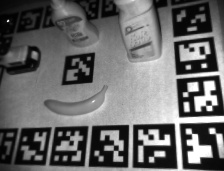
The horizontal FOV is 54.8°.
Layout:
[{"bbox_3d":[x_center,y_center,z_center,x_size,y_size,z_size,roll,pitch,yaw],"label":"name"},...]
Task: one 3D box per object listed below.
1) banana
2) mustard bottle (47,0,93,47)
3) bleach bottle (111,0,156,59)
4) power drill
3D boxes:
[{"bbox_3d":[-0.119,0.041,0.601,0.196,0.039,0.074,-11,70,17],"label":"banana"},{"bbox_3d":[-0.129,-0.182,0.612,0.096,0.193,0.058,-12,67,13],"label":"mustard bottle"},{"bbox_3d":[0.040,-0.147,0.508,0.101,0.253,0.068,3,72,20],"label":"bleach bottle"},{"bbox_3d":[-0.320,-0.134,0.621,0.183,0.189,0.057,-12,67,19],"label":"power drill"}]
